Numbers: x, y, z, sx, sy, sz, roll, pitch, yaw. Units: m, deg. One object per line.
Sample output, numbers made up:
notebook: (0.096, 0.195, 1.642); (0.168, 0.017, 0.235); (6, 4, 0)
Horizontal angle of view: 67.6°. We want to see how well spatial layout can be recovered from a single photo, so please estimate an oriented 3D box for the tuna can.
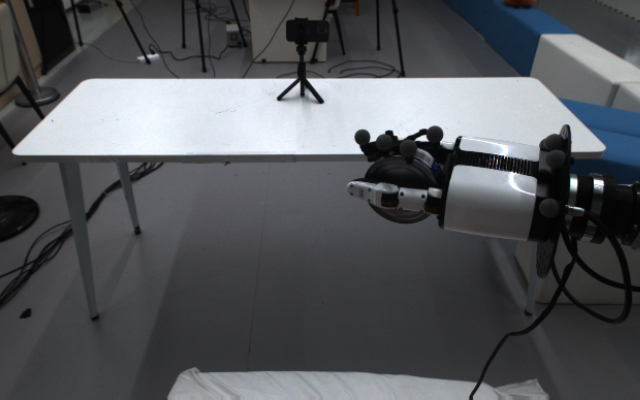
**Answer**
tuna can: (0.097, -0.019, 0.547); (0.085, 0.085, 0.034); (15, 34, 17)
